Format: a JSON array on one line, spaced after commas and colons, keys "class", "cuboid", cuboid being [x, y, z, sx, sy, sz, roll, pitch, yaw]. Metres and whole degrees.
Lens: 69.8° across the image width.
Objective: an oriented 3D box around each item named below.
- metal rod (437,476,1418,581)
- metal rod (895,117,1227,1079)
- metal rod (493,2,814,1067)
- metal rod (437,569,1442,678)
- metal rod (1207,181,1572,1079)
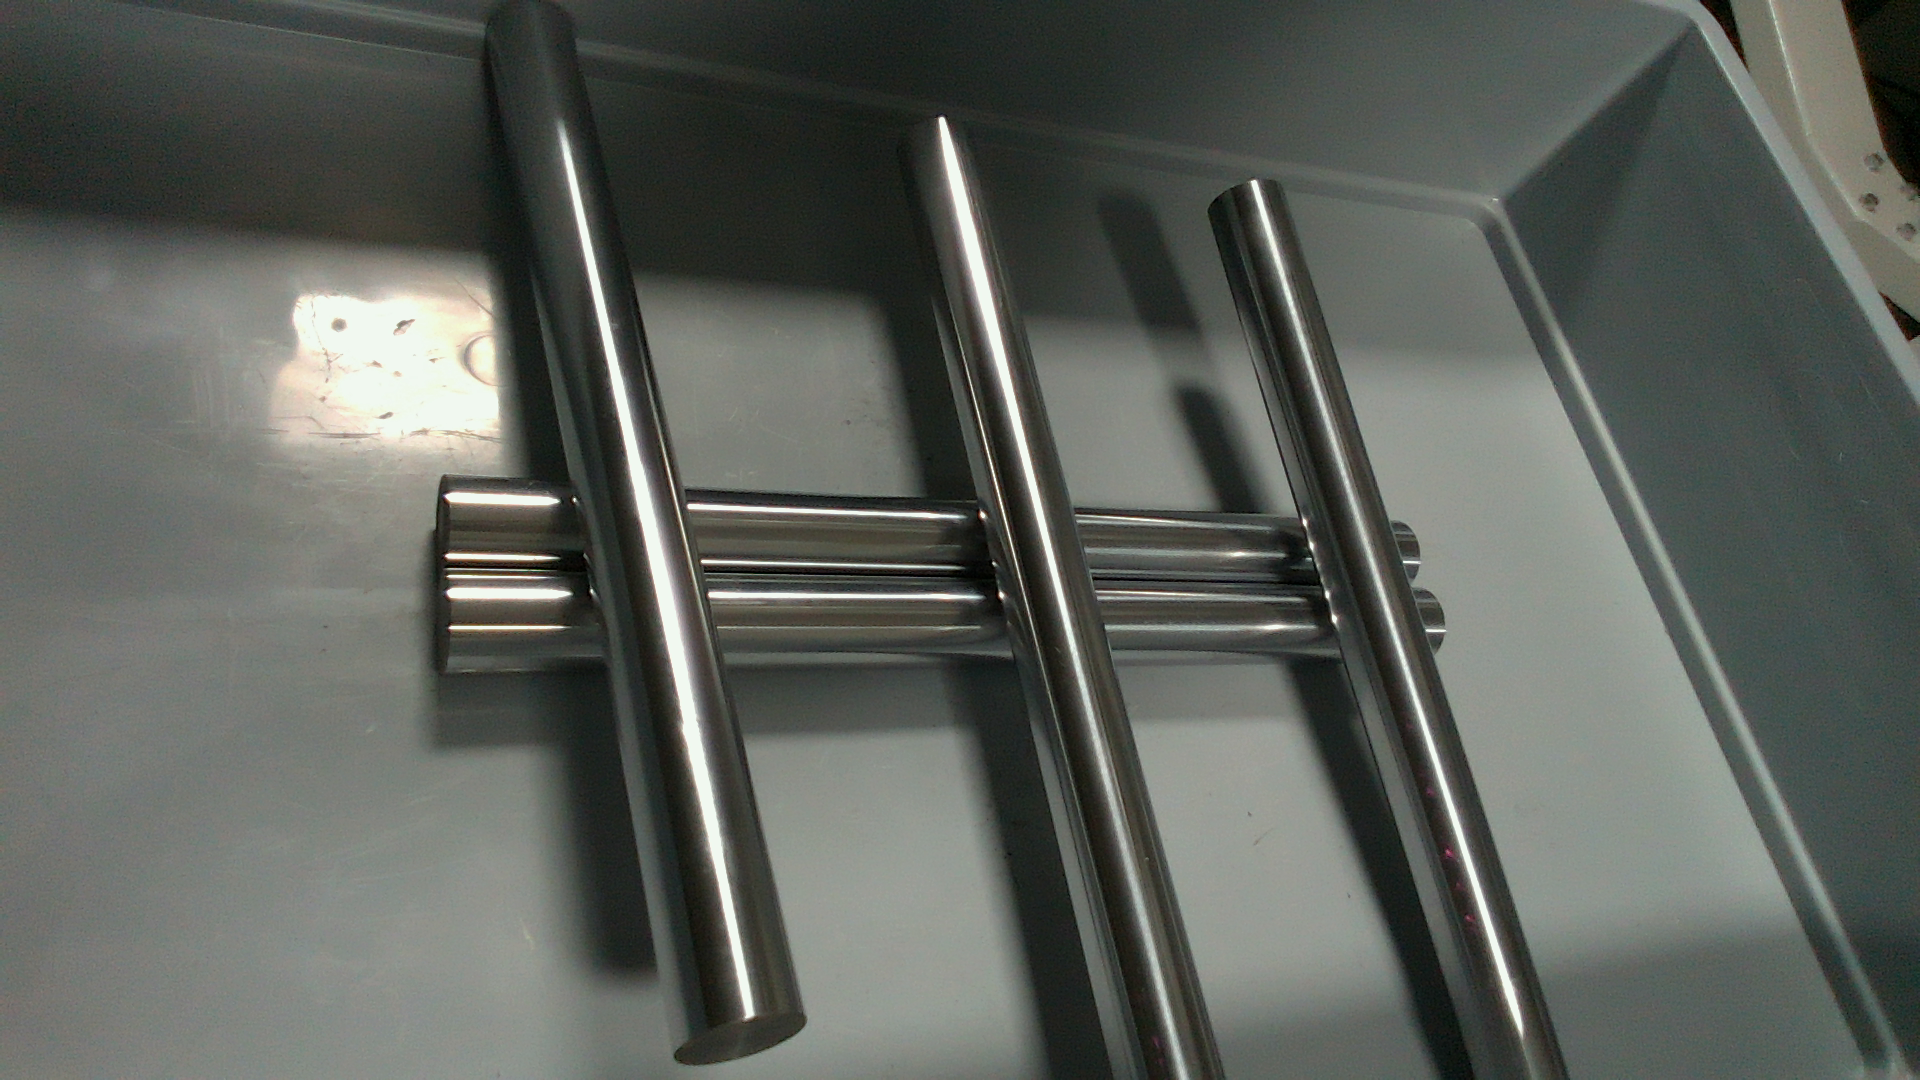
[{"class": "metal rod", "cuboid": [0.011, 0.002, 0.394, 0.301, 0.025, 0.025, 2, 61, -27]}, {"class": "metal rod", "cuboid": [0.022, 0.010, 0.362, 0.025, 0.025, 0.300, 1, 61, -27]}, {"class": "metal rod", "cuboid": [-0.082, -0.028, 0.331, 0.025, 0.025, 0.300, -1, 54, -28]}, {"class": "metal rod", "cuboid": [0.015, 0.023, 0.383, 0.301, 0.025, 0.025, 2, 61, -27]}, {"class": "metal rod", "cuboid": [0.126, 0.030, 0.409, 0.025, 0.025, 0.300, -4, 72, -30]}]
